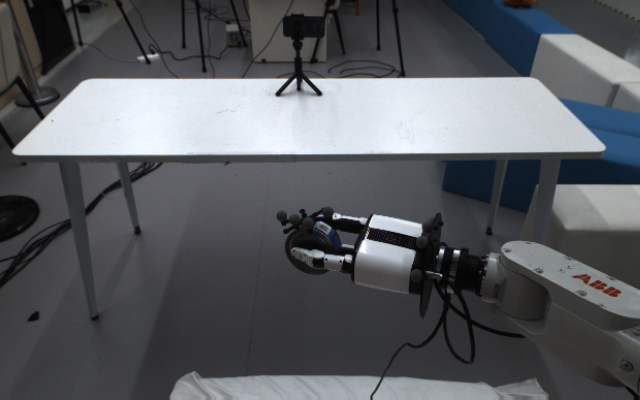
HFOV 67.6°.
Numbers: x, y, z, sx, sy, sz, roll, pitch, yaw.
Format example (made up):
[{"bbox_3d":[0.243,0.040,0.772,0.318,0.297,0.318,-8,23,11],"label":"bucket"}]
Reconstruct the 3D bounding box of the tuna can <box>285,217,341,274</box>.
[{"bbox_3d":[-0.008,0.079,0.767,0.085,0.085,0.034,13,29,15],"label":"tuna can"}]
